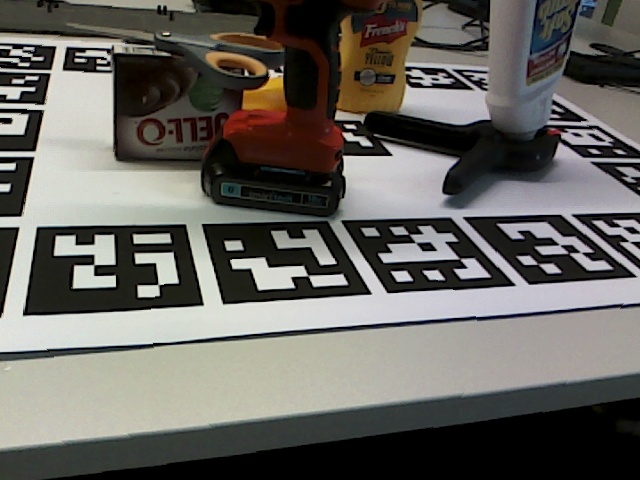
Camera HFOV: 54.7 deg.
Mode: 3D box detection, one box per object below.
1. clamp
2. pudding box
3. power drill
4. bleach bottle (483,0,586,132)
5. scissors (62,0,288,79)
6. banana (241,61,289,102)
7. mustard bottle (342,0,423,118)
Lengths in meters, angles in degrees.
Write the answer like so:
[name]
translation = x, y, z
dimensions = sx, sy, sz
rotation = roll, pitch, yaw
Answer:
[clamp]
translation = 0.173, -0.111, 0.648
dimensions = 0.202, 0.036, 0.166
rotation = -5, 36, -25
[pudding box]
translation = -0.128, -0.121, 0.557
dimensions = 0.113, 0.090, 0.039
rotation = 1, 26, -15
[power drill]
translation = -0.037, -0.142, 0.469
dimensions = 0.184, 0.187, 0.057
rotation = 3, 25, -6
[bleach bottle]
translation = 0.217, -0.208, 0.617
dimensions = 0.102, 0.250, 0.068
rotation = -20, 38, -29
[scissors]
translation = -0.129, -0.179, 0.527
dimensions = 0.203, 0.016, 0.088
rotation = 16, 36, 0
[banana]
translation = -0.049, -0.192, 0.730
dimensions = 0.075, 0.039, 0.196
rotation = 9, 28, 33
[mustard bottle]
translation = 0.067, -0.242, 0.719
dimensions = 0.096, 0.191, 0.058
rotation = 7, 31, -7
